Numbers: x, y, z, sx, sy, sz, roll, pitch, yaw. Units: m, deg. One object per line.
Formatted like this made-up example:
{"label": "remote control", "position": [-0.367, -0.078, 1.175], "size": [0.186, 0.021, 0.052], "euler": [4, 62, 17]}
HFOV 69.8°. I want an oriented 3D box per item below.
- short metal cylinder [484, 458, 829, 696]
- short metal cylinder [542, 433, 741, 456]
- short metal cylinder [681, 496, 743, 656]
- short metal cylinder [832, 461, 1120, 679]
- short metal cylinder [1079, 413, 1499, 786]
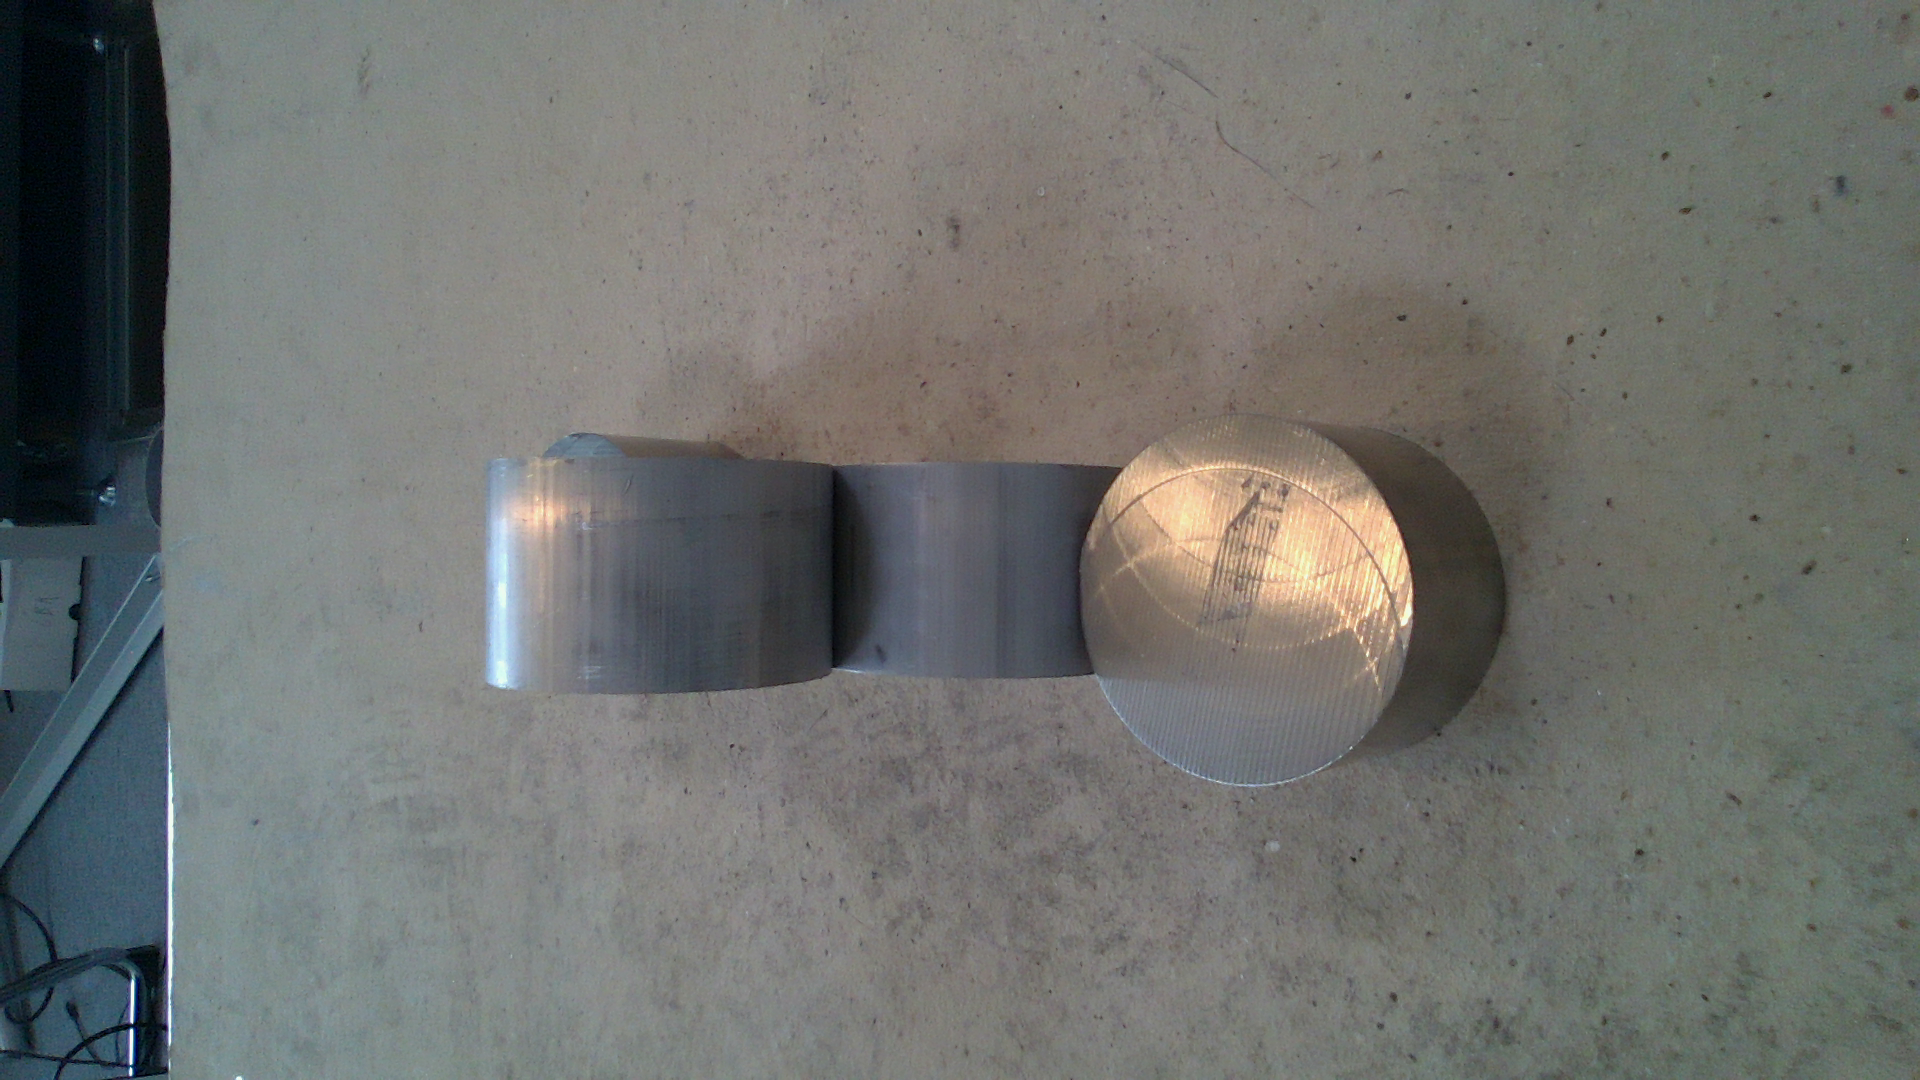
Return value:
{"label": "short metal cylinder", "position": [-0.071, 0.007, 0.328], "size": [0.080, 0.080, 0.050], "euler": [1, 92, 40]}
{"label": "short metal cylinder", "position": [-0.108, 0.005, 0.469], "size": [0.080, 0.050, 0.080], "euler": [0, 90, 40]}
{"label": "short metal cylinder", "position": [-0.057, 0.006, 0.407], "size": [0.080, 0.080, 0.050], "euler": [0, 90, 40]}
{"label": "short metal cylinder", "position": [0.004, 0.007, 0.356], "size": [0.080, 0.080, 0.050], "euler": [0, 89, 40]}
{"label": "short metal cylinder", "position": [0.075, 0.013, 0.315], "size": [0.080, 0.050, 0.080], "euler": [0, 91, 40]}
